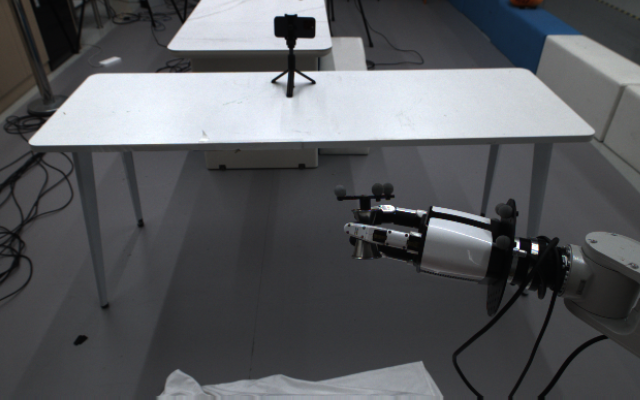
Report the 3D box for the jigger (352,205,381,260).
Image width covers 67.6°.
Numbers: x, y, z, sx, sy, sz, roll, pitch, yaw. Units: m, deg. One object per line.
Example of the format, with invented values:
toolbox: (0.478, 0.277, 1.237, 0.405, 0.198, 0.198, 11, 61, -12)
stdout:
jigger: (0.065, 0.046, 0.685, 0.043, 0.071, 0.043, -2, 3, 0)
